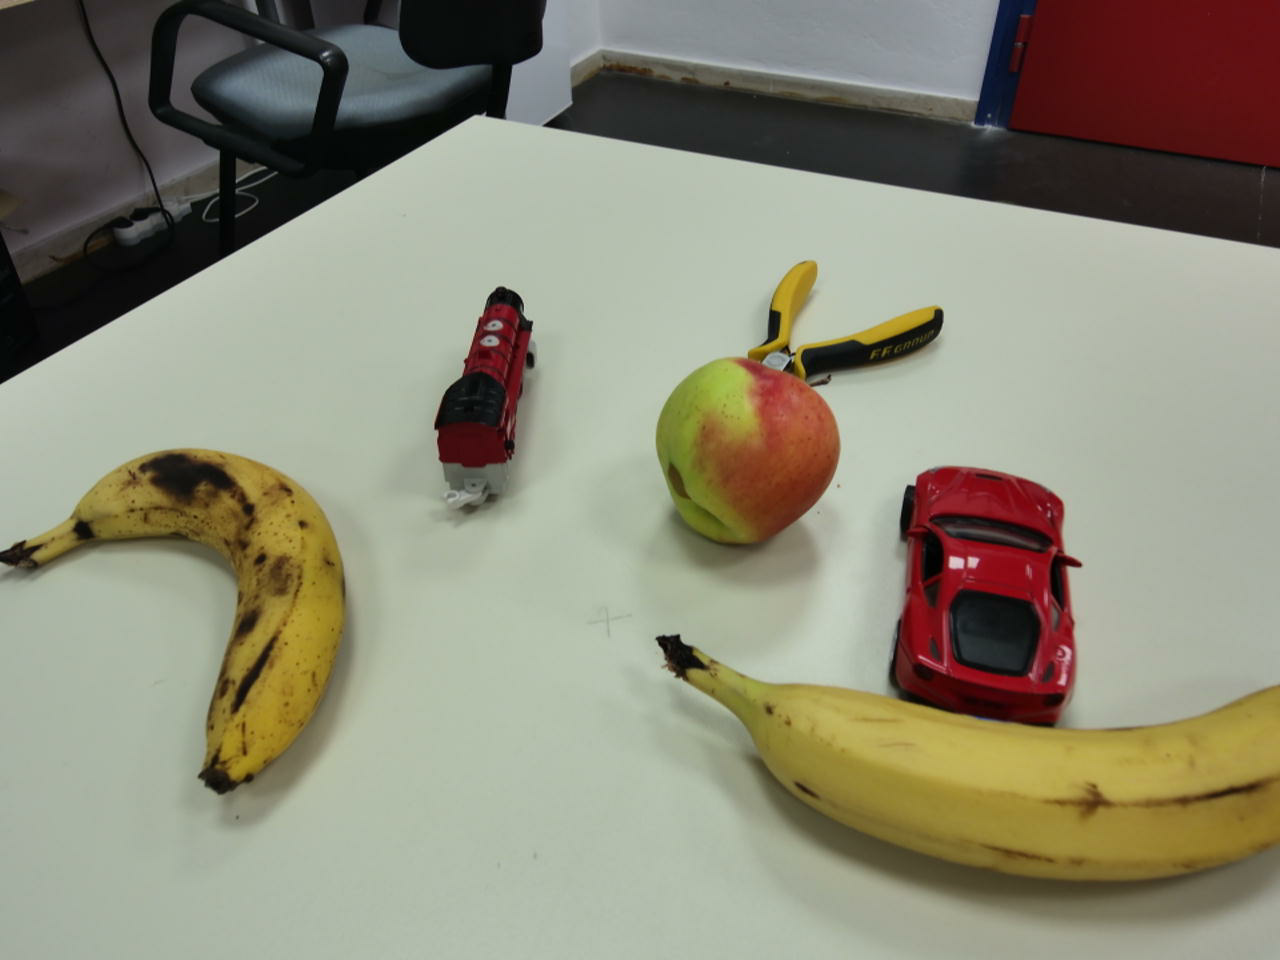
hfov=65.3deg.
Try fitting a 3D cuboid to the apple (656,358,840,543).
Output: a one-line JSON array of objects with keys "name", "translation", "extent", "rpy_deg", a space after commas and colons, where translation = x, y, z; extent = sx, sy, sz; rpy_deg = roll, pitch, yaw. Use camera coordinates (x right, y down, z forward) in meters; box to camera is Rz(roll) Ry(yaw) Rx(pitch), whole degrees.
[{"name": "apple", "translation": [0.043, -0.012, 0.415], "extent": [0.075, 0.074, 0.075], "rpy_deg": [4, 37, 6]}]
